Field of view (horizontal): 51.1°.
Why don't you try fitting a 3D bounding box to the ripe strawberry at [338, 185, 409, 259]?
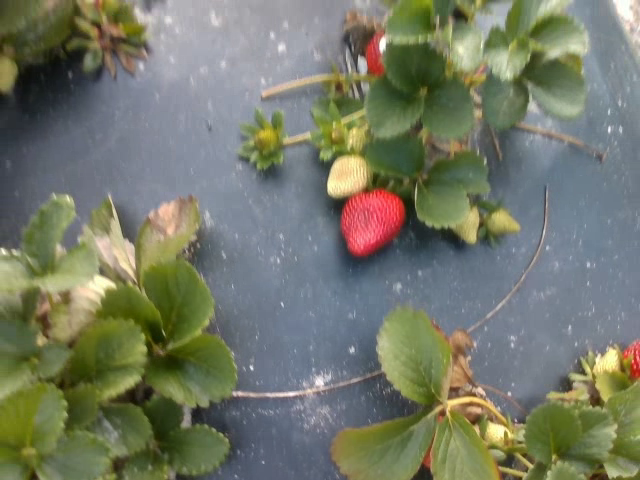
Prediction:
[{"bbox_3d":[0.033,-0.008,0.478,0.051,0.048,0.055,2,37,31],"label":"ripe strawberry"}]
